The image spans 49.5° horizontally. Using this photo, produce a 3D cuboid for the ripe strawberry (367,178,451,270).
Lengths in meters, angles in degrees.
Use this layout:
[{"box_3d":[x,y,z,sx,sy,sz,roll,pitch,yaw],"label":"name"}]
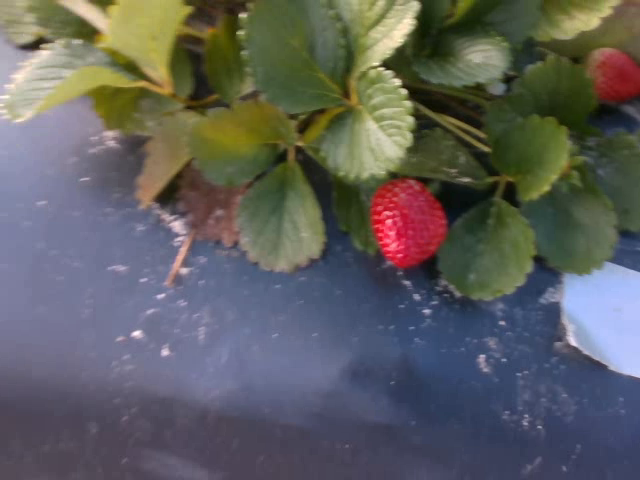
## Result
[{"box_3d":[0.018,-0.002,0.145,0.018,0.023,0.021,4,-41,20],"label":"ripe strawberry"}]
